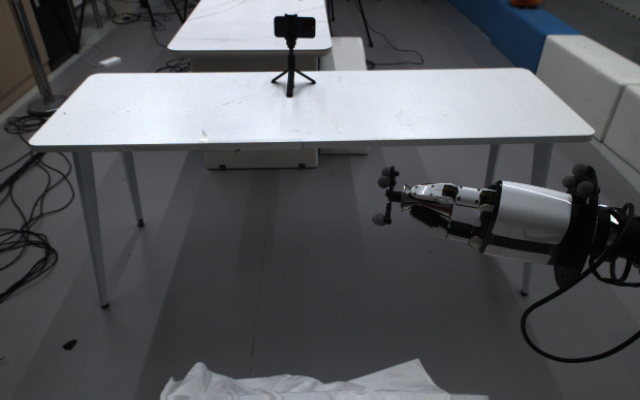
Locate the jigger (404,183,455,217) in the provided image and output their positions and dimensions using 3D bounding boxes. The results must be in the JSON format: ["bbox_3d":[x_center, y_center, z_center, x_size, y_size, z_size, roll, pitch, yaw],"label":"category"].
[{"bbox_3d":[0.153,-0.003,0.662,0.071,0.043,0.043,8,35,14],"label":"jigger"}]
